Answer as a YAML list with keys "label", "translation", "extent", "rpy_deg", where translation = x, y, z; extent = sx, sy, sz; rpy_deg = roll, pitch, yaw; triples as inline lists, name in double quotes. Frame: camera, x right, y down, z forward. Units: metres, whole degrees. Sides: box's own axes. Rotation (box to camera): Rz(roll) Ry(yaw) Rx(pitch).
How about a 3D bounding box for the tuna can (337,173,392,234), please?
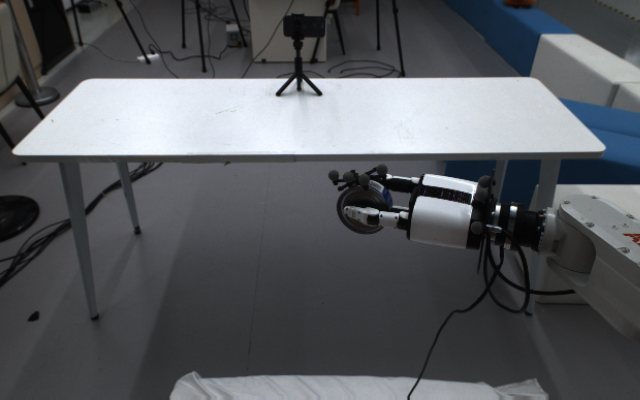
- label: "tuna can"
  translation: [0.074, 0.010, 0.774]
  extent: [0.085, 0.085, 0.034]
  rpy_deg: [13, 28, 15]
